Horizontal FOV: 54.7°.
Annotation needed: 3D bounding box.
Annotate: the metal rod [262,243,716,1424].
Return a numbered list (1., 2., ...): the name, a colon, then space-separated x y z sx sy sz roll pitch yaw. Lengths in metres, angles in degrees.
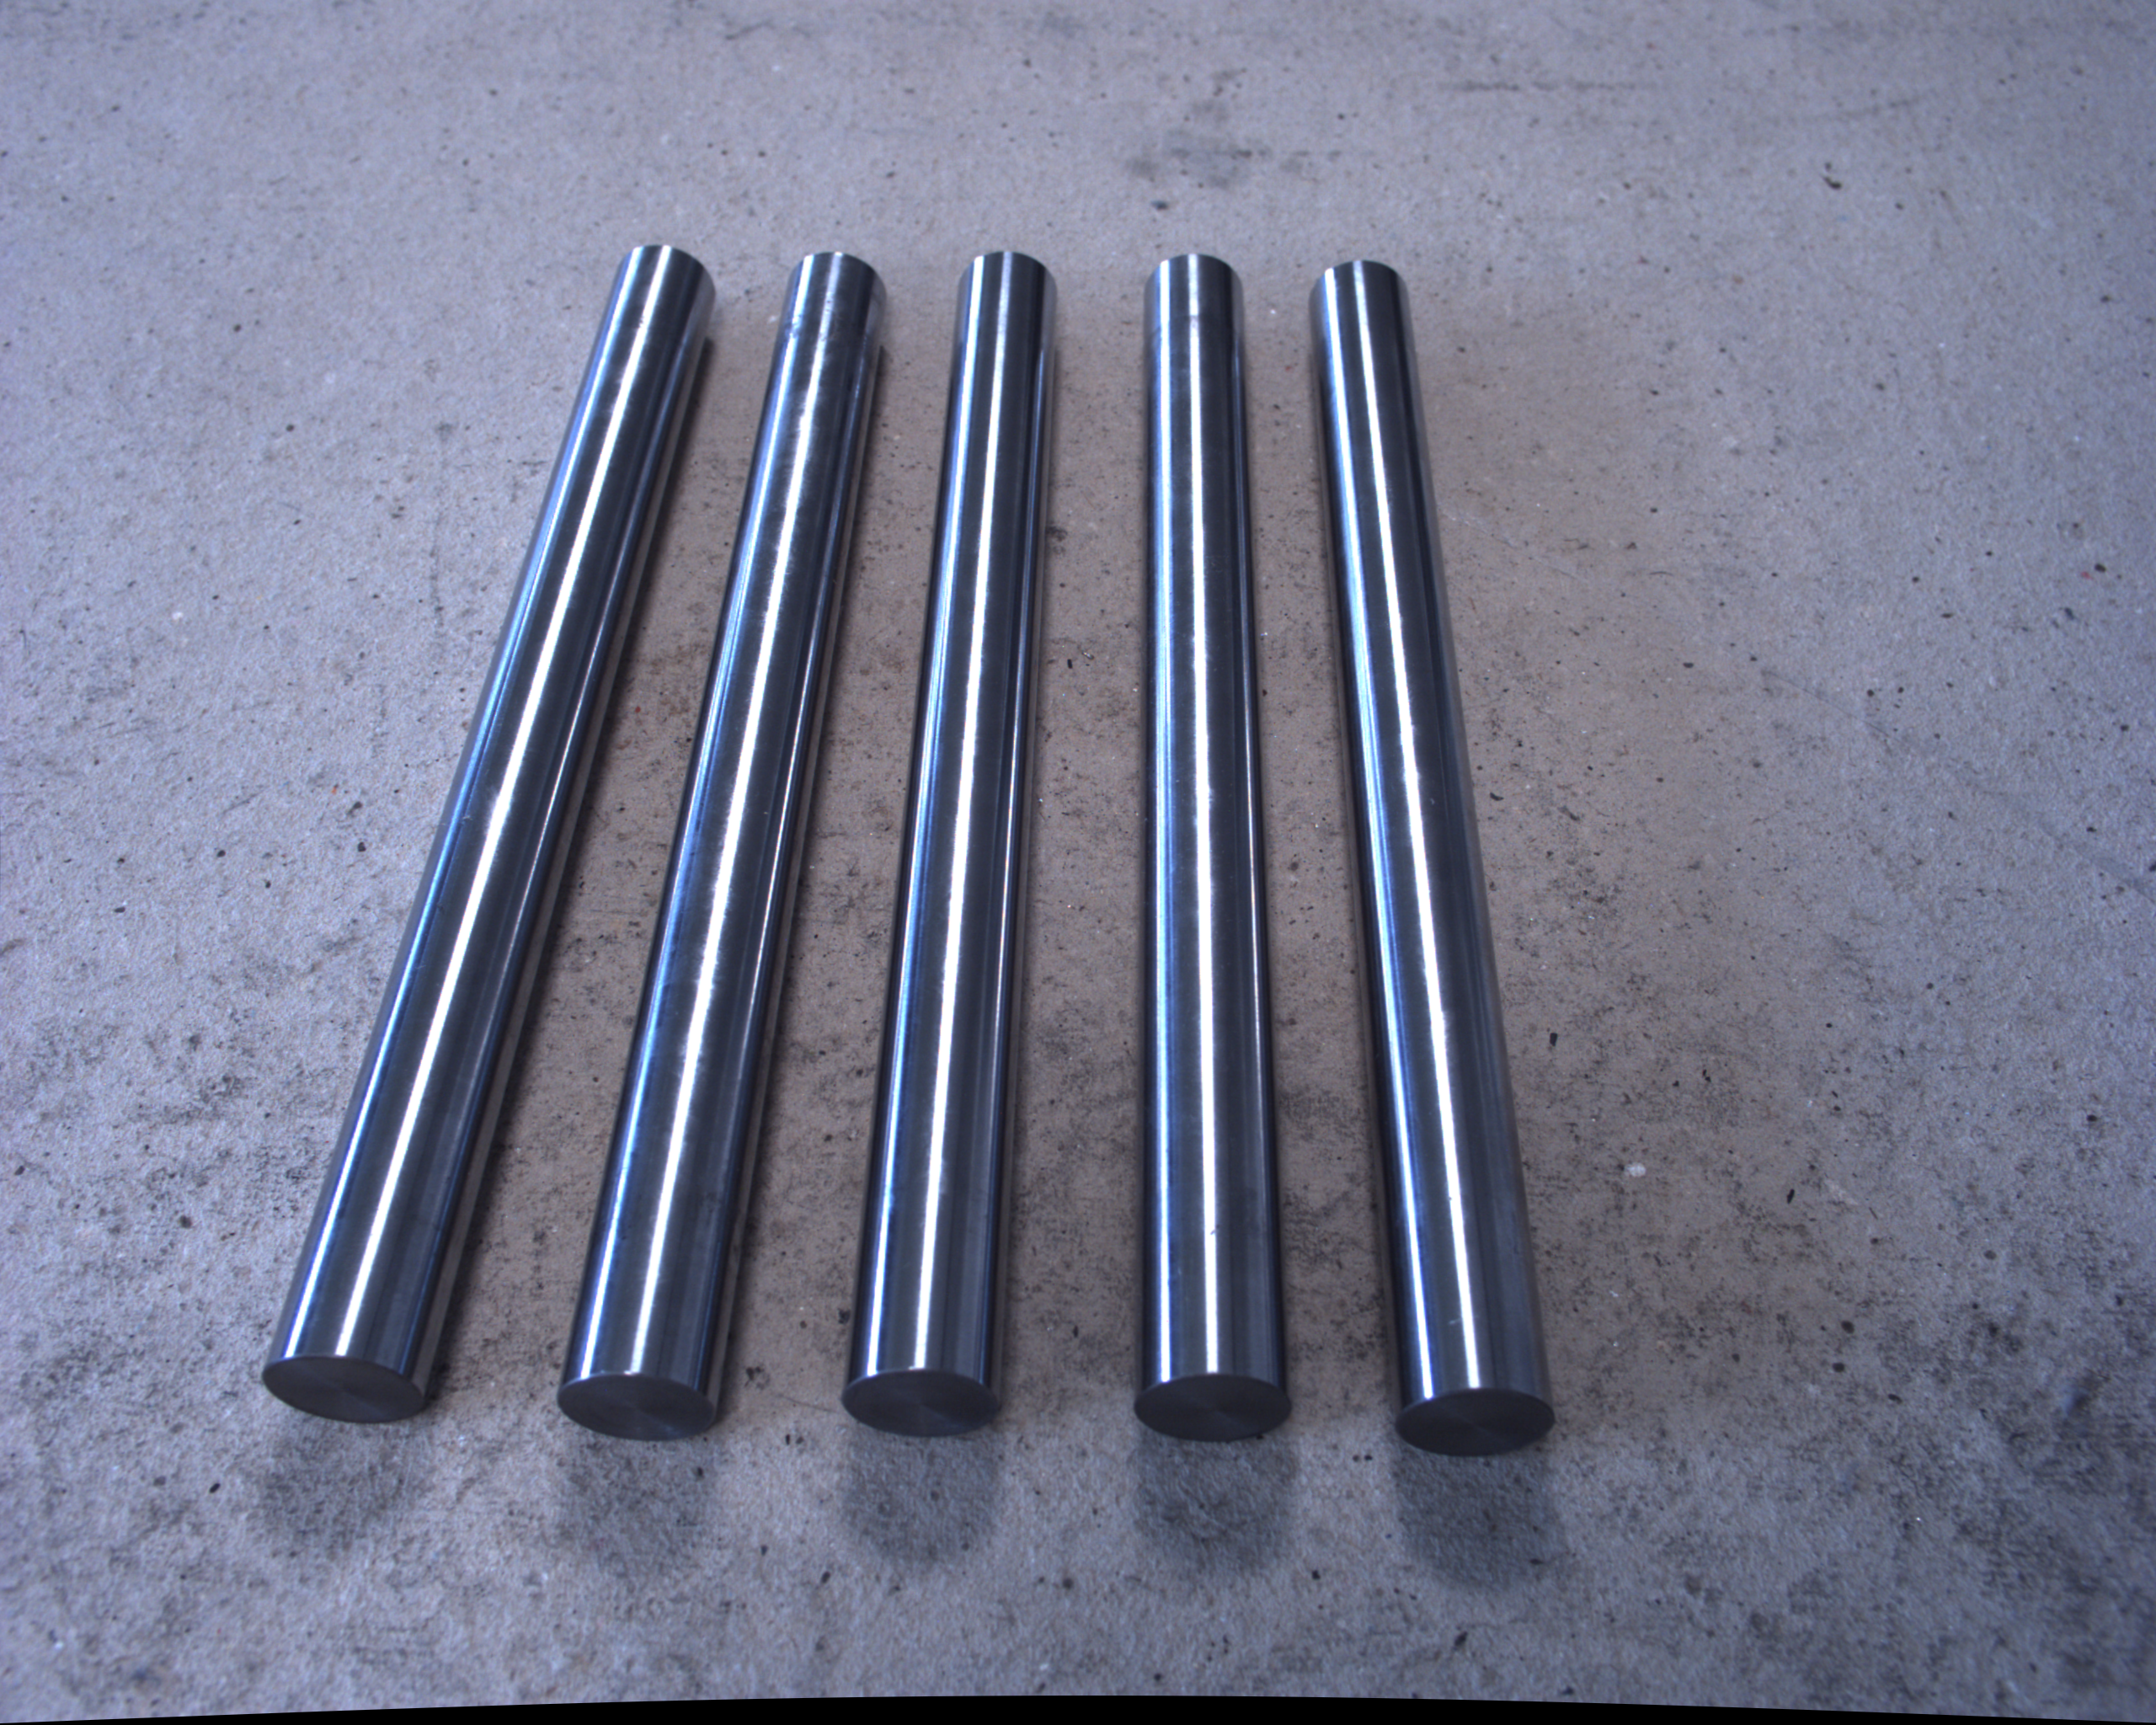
1. metal rod: -0.110 -0.031 0.428 0.025 0.025 0.300 2 50 2

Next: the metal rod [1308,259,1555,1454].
1. metal rod: 0.066 -0.026 0.427 0.025 0.025 0.300 1 50 1

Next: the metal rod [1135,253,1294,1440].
1. metal rod: 0.025 -0.028 0.428 0.025 0.025 0.300 1 50 1

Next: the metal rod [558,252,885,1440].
1. metal rod: -0.065 -0.028 0.428 0.025 0.025 0.300 1 50 1

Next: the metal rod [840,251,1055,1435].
1. metal rod: -0.022 -0.029 0.428 0.025 0.025 0.300 1 50 1
